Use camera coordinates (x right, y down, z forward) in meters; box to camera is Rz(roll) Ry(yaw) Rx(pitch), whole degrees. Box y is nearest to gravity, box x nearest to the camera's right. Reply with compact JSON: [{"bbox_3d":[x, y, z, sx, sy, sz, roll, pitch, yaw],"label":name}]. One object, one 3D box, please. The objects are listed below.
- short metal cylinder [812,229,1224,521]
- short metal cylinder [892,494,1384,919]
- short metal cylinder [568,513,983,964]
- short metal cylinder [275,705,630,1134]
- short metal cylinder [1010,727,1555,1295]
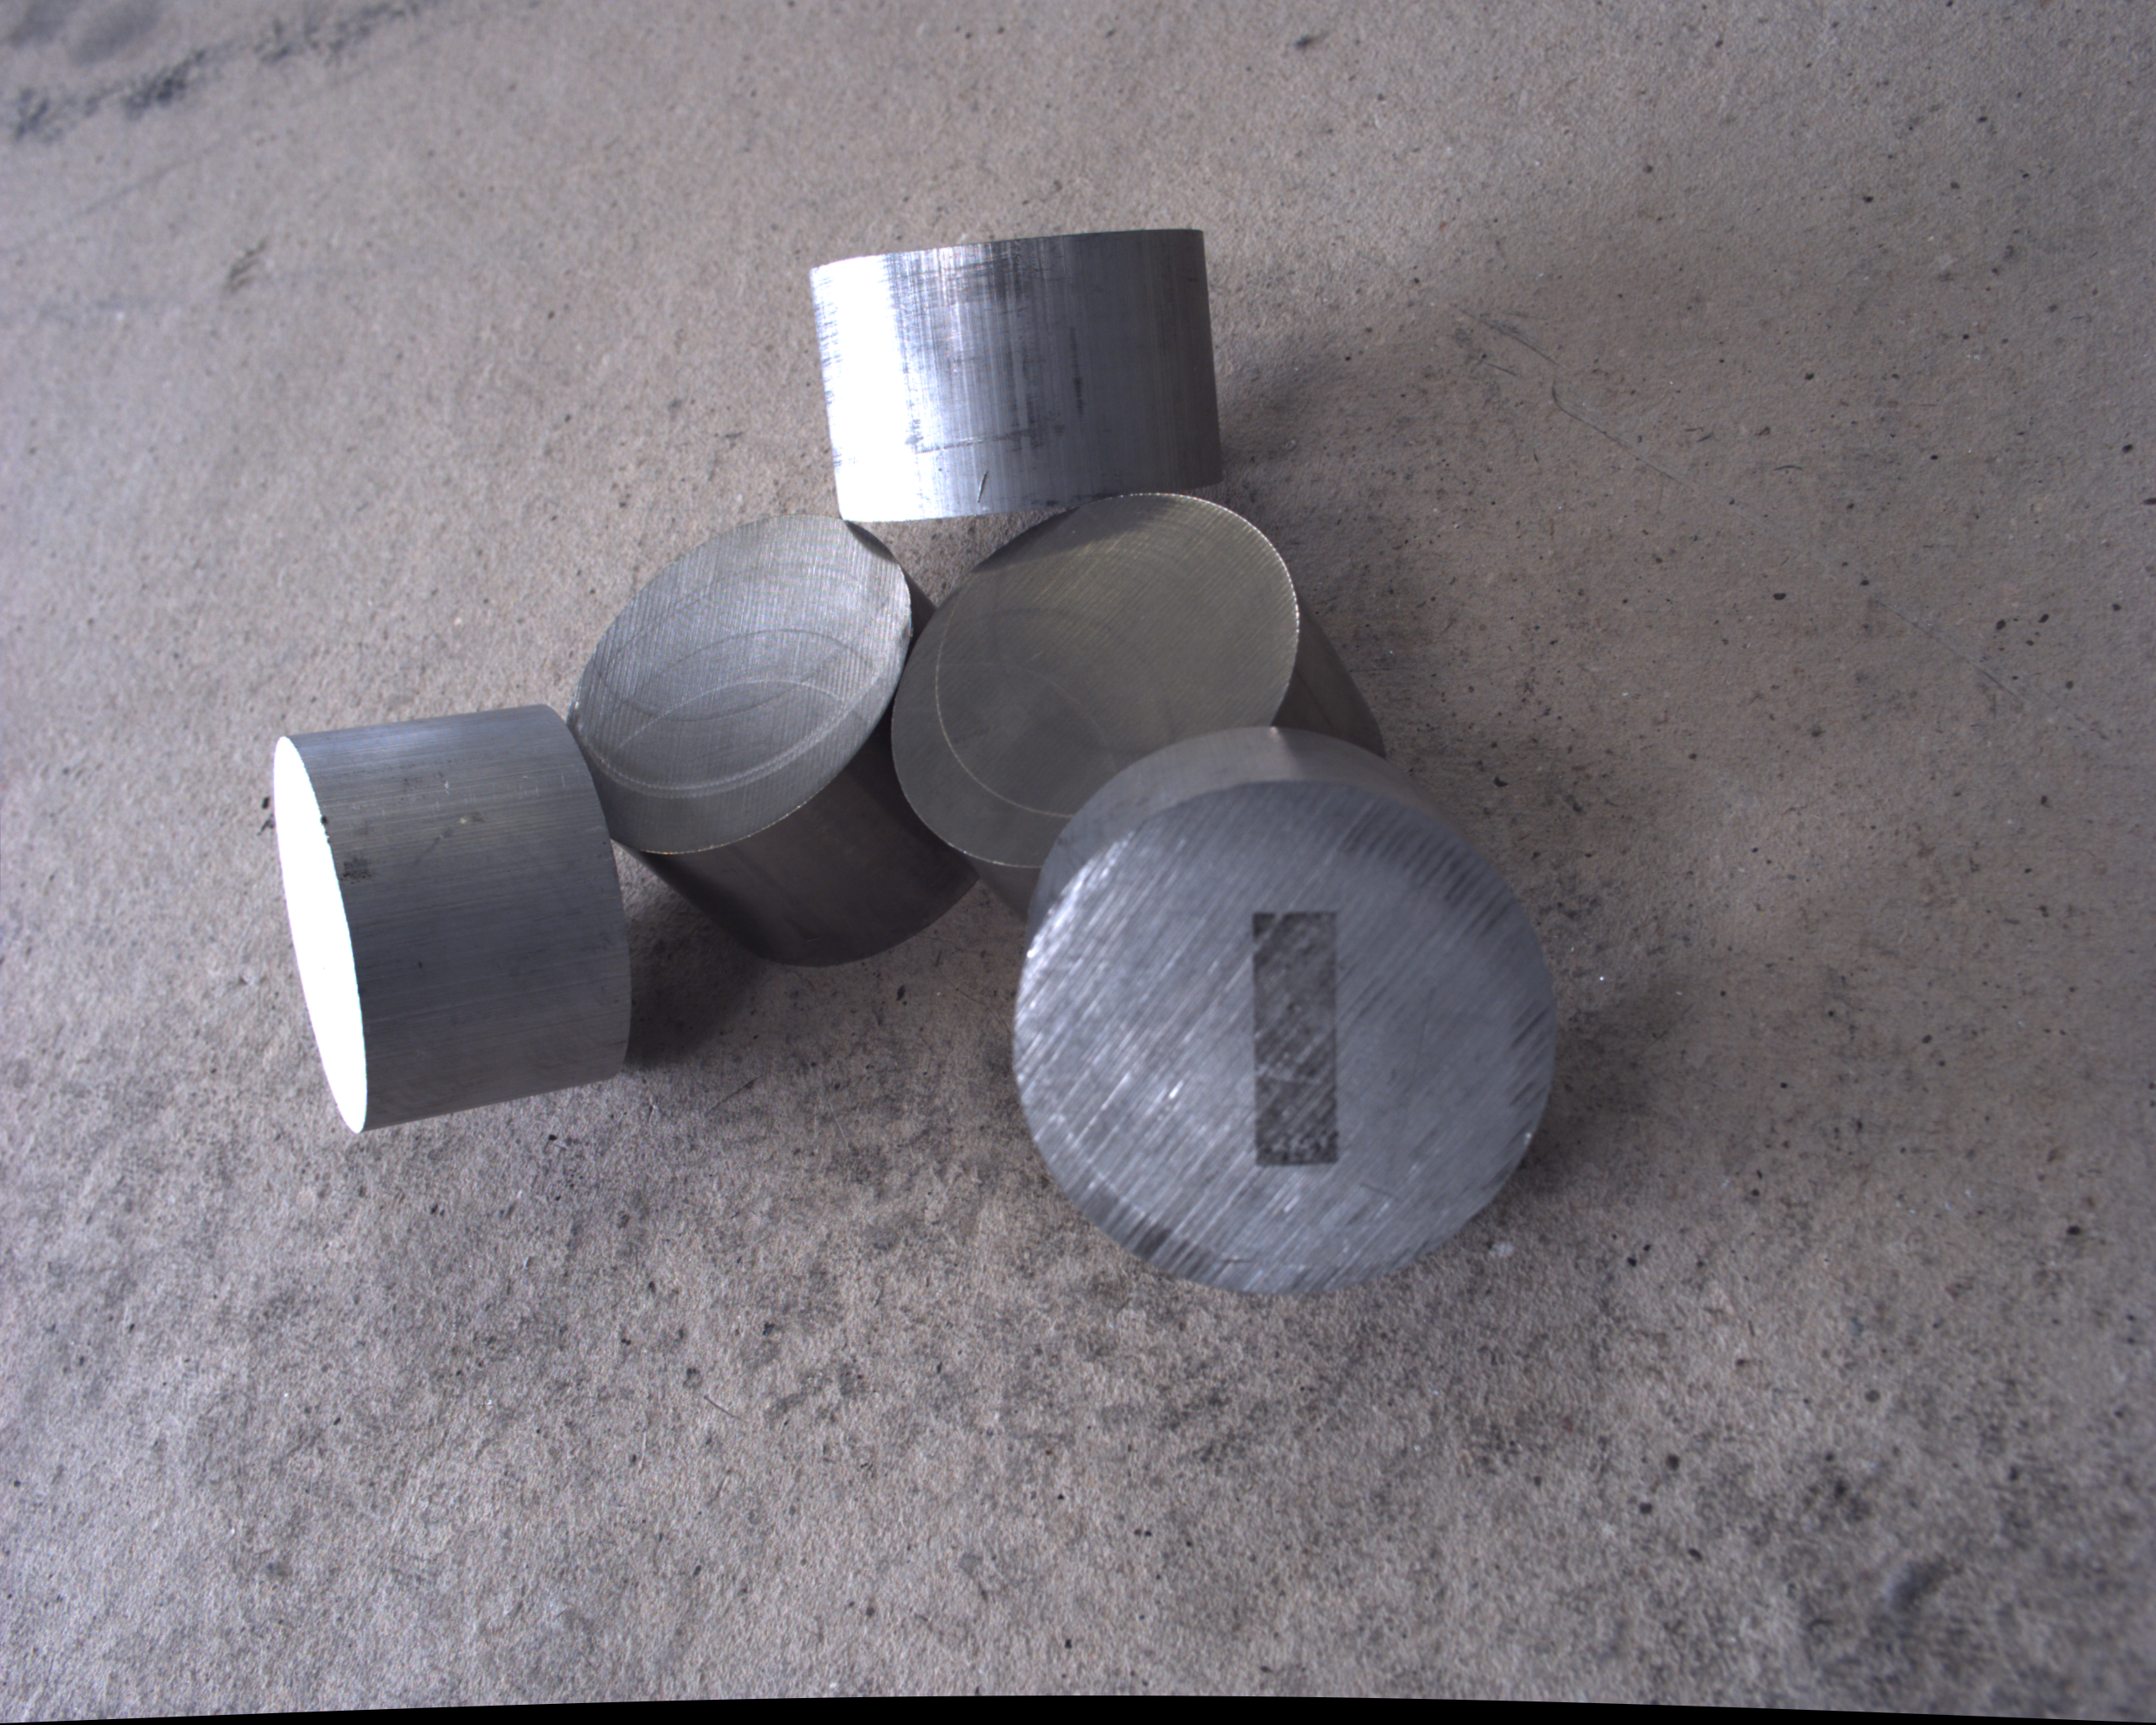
[{"bbox_3d":[-0.012,-0.100,0.430,0.080,0.080,0.050,2,105,29],"label":"short metal cylinder"},{"bbox_3d":[0.012,-0.023,0.397,0.080,0.050,0.080,-13,56,21],"label":"short metal cylinder"},{"bbox_3d":[-0.058,-0.026,0.435,0.080,0.050,0.080,-13,56,21],"label":"short metal cylinder"},{"bbox_3d":[-0.128,0.010,0.423,0.050,0.079,0.080,-11,45,-27],"label":"short metal cylinder"},{"bbox_3d":[0.031,0.021,0.333,0.080,0.080,0.050,-32,10,7],"label":"short metal cylinder"}]
